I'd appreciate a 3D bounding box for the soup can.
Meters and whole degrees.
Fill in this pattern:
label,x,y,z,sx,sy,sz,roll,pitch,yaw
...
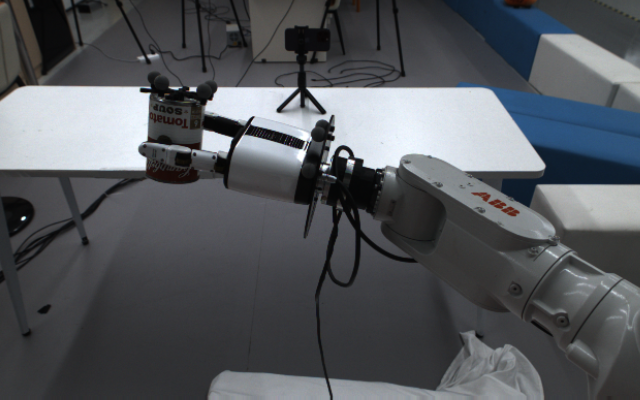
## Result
label,x,y,z,sx,sy,sz,roll,pitch,yaw
soup can,-0.181,-0.077,0.607,0.067,0.101,0.067,9,20,-3
